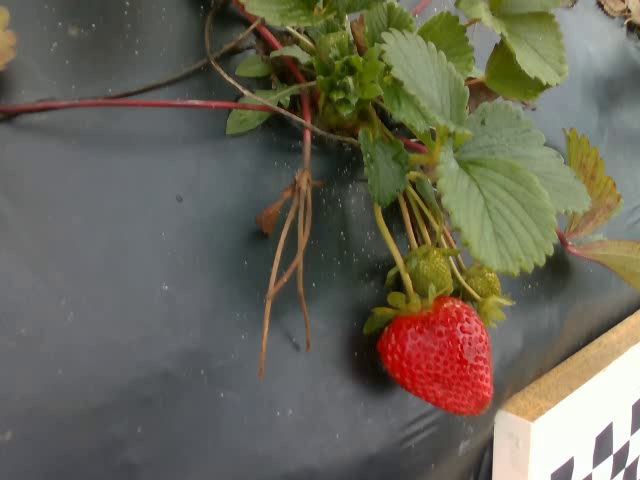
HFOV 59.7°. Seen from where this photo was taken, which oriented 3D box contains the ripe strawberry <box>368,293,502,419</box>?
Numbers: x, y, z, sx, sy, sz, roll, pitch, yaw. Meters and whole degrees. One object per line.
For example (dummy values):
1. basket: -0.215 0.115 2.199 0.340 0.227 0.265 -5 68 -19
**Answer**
1. ripe strawberry: 0.016 0.015 0.067 0.018 0.017 0.014 -12 -27 -50
